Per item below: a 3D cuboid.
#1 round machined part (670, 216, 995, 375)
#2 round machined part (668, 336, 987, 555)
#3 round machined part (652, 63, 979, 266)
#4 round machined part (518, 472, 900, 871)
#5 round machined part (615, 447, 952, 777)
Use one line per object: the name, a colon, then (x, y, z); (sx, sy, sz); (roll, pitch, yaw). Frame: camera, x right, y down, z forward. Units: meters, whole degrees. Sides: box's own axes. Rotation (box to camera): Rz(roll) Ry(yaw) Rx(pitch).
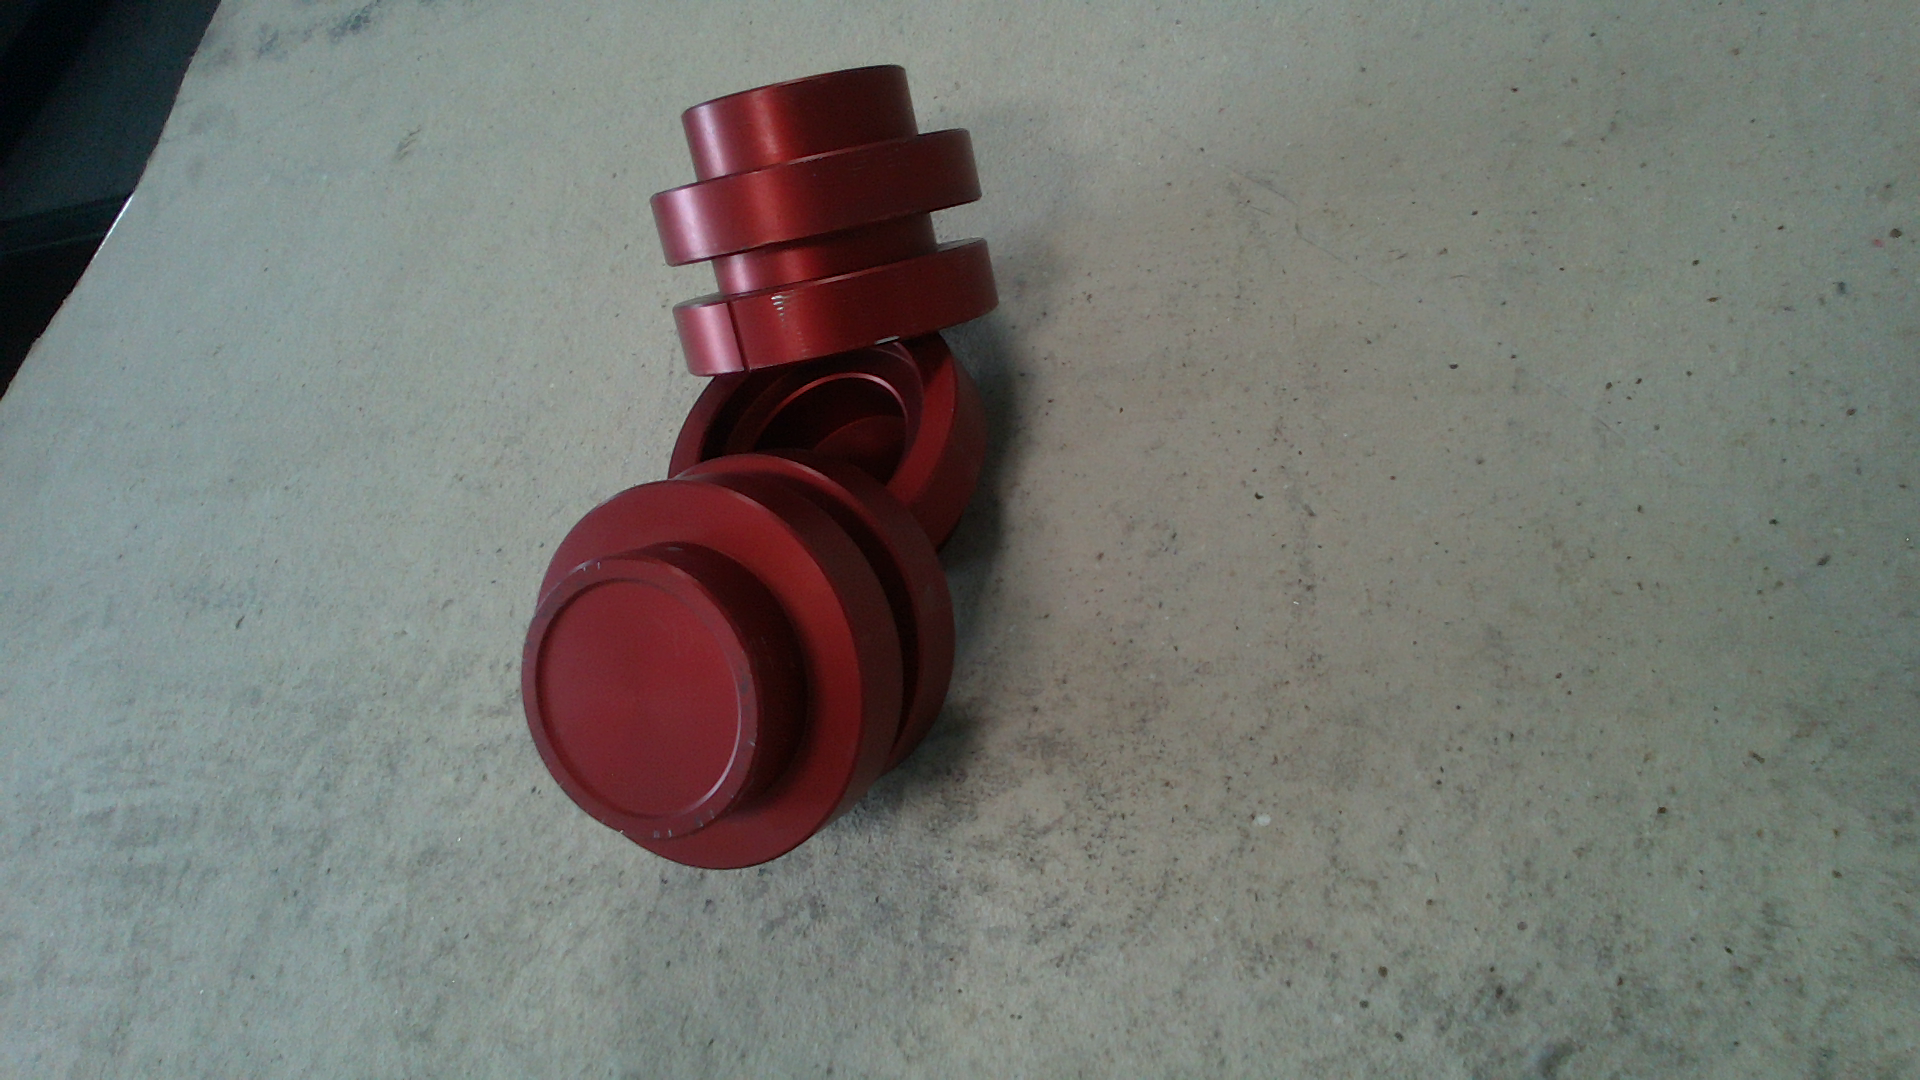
round machined part: (-0.040, -0.083, 0.420); (0.098, 0.042, 0.098); (-12, 14, 3)
round machined part: (-0.036, -0.021, 0.417); (0.098, 0.042, 0.098); (-13, 56, 21)
round machined part: (-0.045, -0.115, 0.416); (0.098, 0.042, 0.098); (-12, 14, 3)
round machined part: (-0.067, 0.034, 0.336); (0.098, 0.042, 0.098); (3, 99, 24)
round machined part: (-0.055, 0.026, 0.365); (0.098, 0.042, 0.098); (4, 100, 24)
